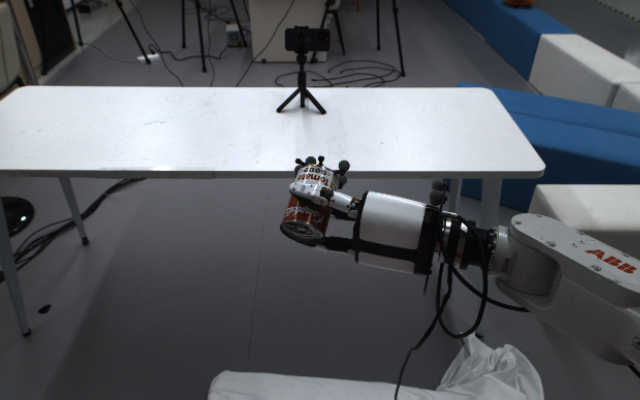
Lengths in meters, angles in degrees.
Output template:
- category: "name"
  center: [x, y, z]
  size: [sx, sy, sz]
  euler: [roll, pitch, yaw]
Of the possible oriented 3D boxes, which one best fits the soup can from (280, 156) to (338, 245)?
- category: "soup can"
  center: [-0.013, 0.005, 0.721]
  size: [0.067, 0.067, 0.101]
  euler: [9, 60, 10]
